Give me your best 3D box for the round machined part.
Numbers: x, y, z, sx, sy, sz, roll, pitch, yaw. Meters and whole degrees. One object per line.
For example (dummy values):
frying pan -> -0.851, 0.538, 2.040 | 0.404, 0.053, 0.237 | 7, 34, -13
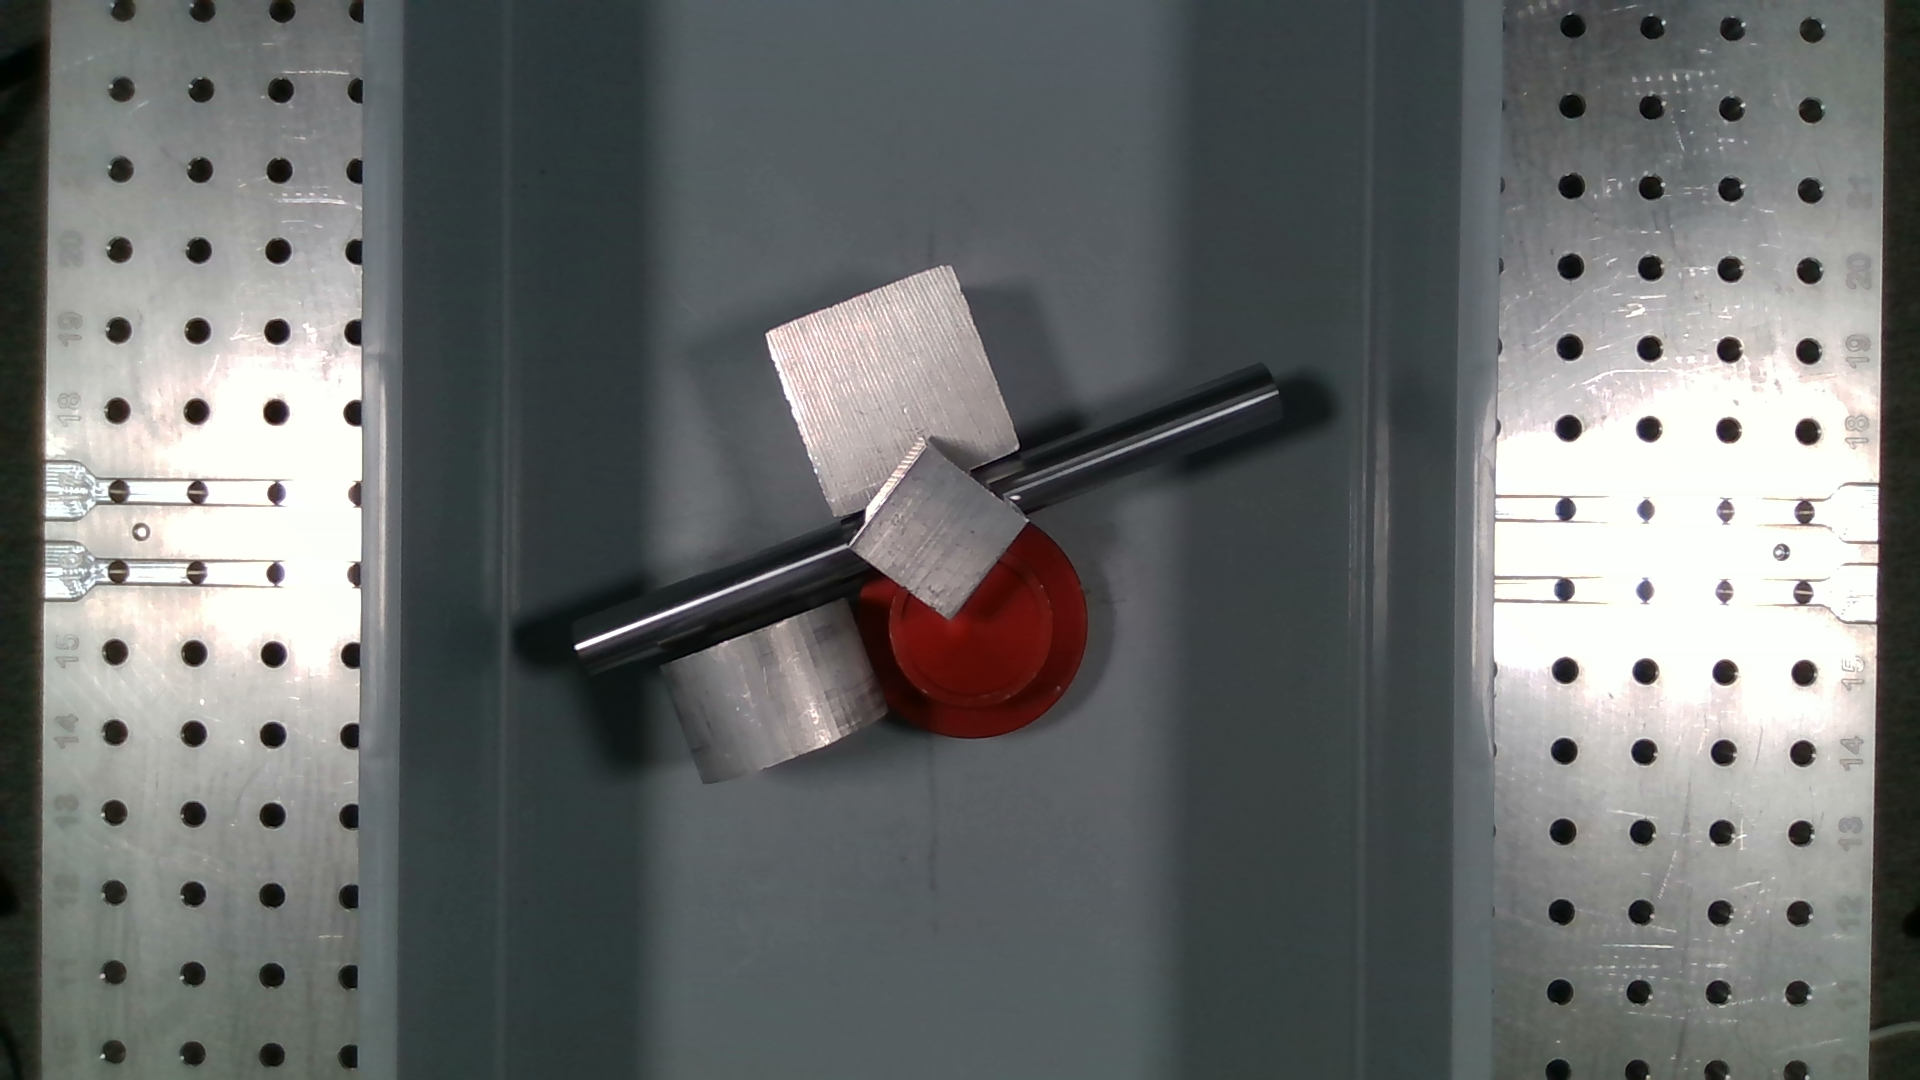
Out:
round machined part -> 0.005, 0.035, 0.577 | 0.098, 0.042, 0.098 | 0, 90, 0

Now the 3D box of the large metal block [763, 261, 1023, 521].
large metal block -> -0.027, -0.059, 0.570 | 0.080, 0.050, 0.080 | -21, 90, 0

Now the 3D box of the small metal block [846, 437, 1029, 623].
small metal block -> -0.009, -0.005, 0.538 | 0.050, 0.025, 0.050 | 36, 97, -11

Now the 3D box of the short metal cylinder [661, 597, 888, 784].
short metal cylinder -> -0.075, 0.060, 0.559 | 0.080, 0.080, 0.050 | -21, 90, 0

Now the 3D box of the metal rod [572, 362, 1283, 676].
metal rod -> -0.013, -0.009, 0.565 | 0.300, 0.025, 0.025 | -21, 90, 0
